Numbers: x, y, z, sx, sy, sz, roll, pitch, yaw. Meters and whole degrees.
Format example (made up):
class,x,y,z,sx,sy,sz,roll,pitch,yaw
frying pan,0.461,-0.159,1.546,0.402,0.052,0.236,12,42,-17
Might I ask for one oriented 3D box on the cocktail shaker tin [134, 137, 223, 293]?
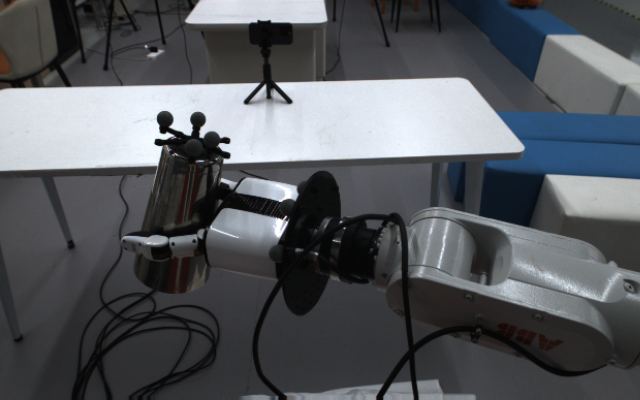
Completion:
class,x,y,z,sx,sy,sz,roll,pitch,yaw
cocktail shaker tin,-0.160,0.014,0.568,0.093,0.170,0.093,14,27,-7
